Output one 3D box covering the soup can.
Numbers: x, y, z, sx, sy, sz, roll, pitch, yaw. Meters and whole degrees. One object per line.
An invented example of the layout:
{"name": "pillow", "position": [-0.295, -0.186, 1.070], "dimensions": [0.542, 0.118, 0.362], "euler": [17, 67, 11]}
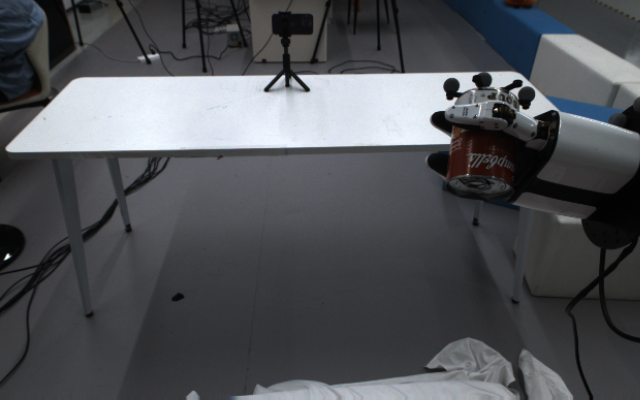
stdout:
{"name": "soup can", "position": [0.174, -0.058, 0.509], "dimensions": [0.067, 0.067, 0.101], "euler": [8, 72, 9]}
